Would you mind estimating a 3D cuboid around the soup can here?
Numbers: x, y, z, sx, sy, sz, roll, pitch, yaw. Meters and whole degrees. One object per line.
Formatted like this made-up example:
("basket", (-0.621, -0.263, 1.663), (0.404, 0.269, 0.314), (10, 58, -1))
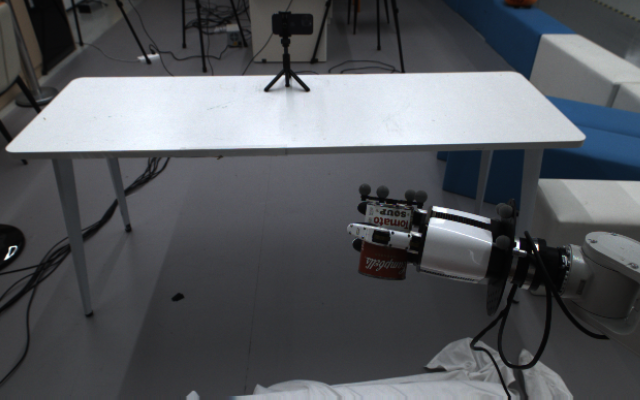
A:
("soup can", (0.094, 0.056, 0.678), (0.067, 0.101, 0.067), (7, 3, 0))
